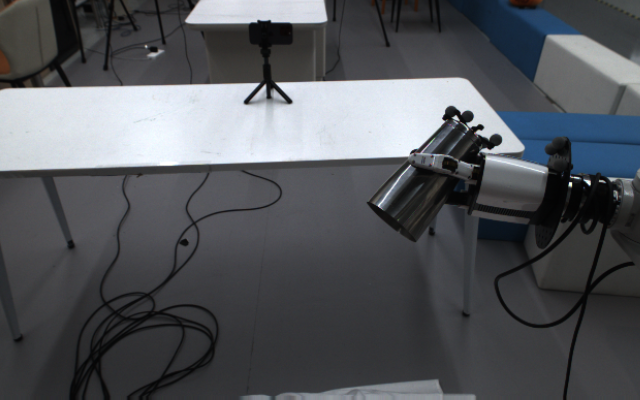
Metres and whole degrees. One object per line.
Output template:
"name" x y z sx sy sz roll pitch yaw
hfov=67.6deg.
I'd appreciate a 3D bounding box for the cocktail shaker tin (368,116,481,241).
"cocktail shaker tin" 0.158 -0.037 0.708 0.170 0.093 0.093 -48 49 -4
